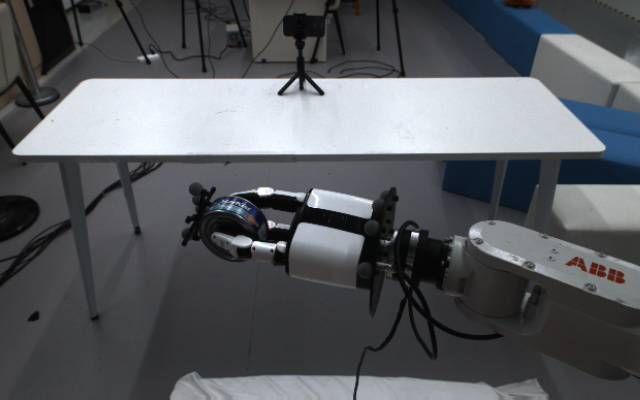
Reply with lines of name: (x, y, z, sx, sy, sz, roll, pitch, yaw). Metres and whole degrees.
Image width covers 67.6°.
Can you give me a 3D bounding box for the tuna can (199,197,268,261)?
tuna can: (-0.109, 0.042, 0.620, 0.085, 0.085, 0.034, 9, 36, 10)
